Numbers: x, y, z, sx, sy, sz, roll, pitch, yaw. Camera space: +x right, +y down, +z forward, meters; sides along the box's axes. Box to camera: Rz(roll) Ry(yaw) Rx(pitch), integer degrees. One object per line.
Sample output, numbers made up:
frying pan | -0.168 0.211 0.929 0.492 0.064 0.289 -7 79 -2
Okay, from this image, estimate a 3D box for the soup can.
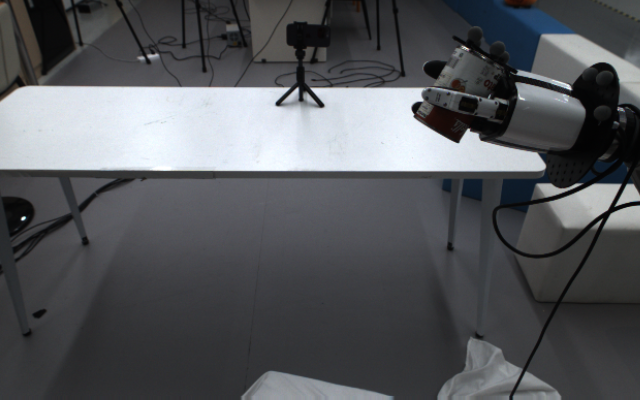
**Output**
soup can | 0.174 -0.133 0.607 0.067 0.101 0.067 27 18 -9
